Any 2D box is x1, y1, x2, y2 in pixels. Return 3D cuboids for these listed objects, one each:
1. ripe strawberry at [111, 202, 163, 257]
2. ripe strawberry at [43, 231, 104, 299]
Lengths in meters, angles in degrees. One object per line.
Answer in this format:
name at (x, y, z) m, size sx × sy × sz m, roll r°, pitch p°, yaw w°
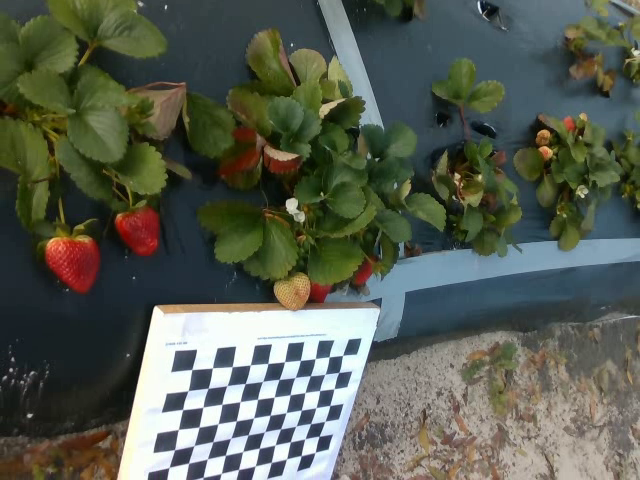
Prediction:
ripe strawberry at (-0.173, -0.008, 0.567) m, size 0.042 × 0.053 × 0.034 m, roll -13°, pitch -8°, yaw -29°
ripe strawberry at (-0.222, 0.023, 0.534) m, size 0.050 × 0.061 × 0.045 m, roll -7°, pitch -14°, yaw -32°
